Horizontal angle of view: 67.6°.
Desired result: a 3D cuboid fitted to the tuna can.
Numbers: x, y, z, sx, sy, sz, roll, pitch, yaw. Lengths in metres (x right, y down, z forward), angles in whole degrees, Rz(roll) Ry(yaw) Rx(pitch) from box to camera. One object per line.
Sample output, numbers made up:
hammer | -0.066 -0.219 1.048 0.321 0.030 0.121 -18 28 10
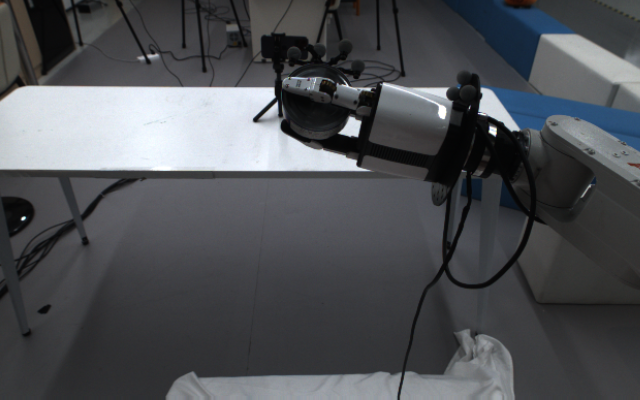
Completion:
tuna can | -0.003 -0.118 0.579 0.085 0.034 0.085 1 74 -3
